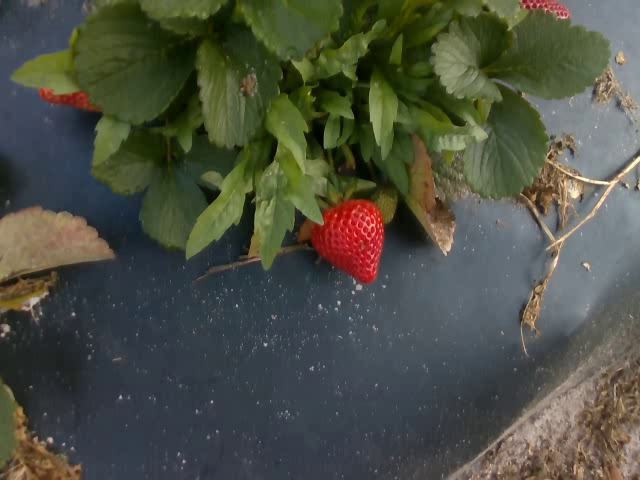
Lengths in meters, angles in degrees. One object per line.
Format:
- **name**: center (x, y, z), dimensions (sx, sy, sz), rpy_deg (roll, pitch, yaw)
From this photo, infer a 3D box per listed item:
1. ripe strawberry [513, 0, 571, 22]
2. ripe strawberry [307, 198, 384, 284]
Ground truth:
- **ripe strawberry**: center (0.118, -0.124, 0.352), dimensions (0.046, 0.043, 0.047), rpy_deg (0, 19, 6)
- **ripe strawberry**: center (0.016, 0.001, 0.328), dimensions (0.043, 0.051, 0.042), rpy_deg (-24, 0, -16)
